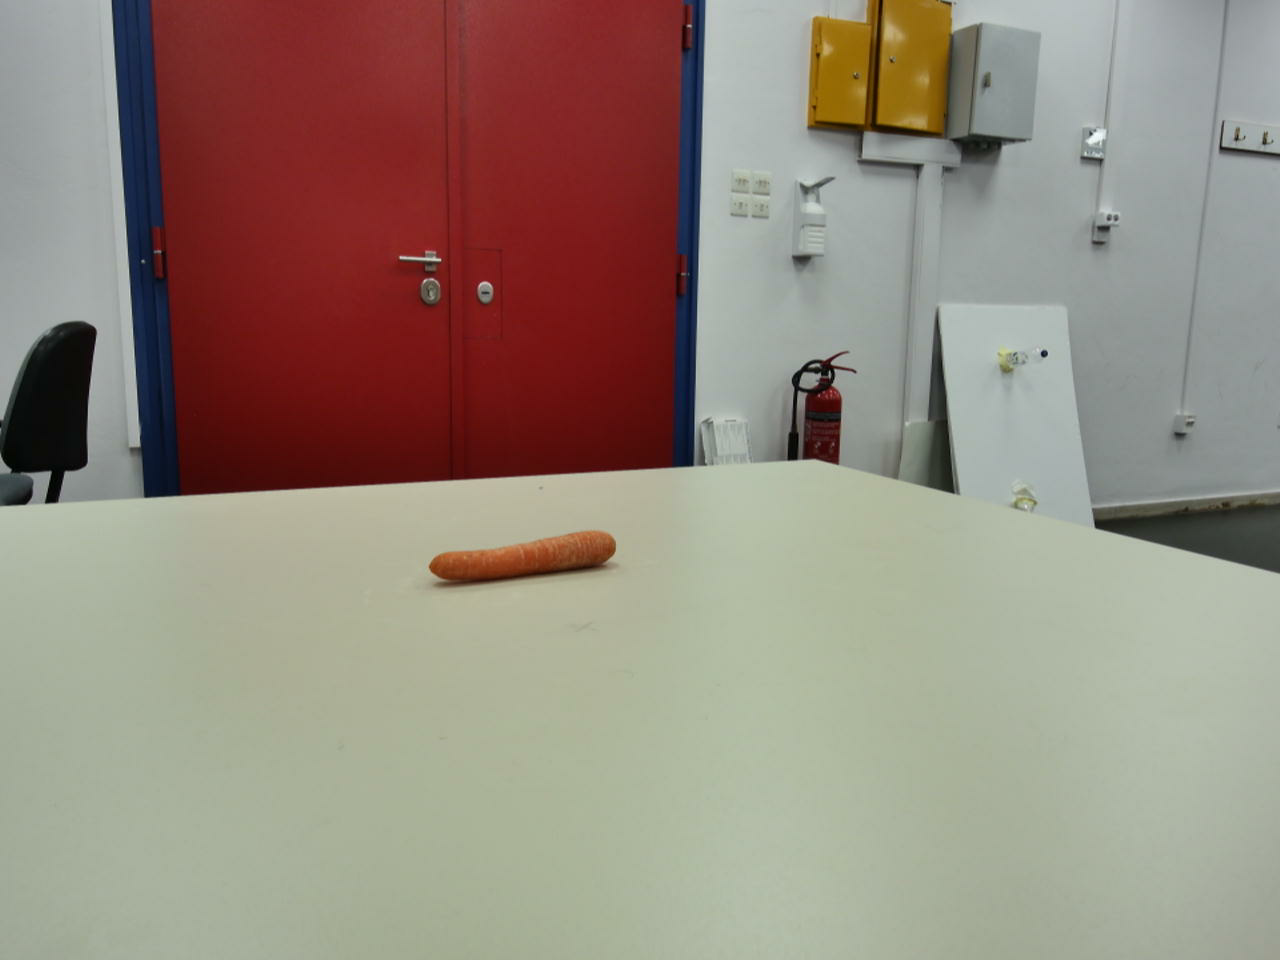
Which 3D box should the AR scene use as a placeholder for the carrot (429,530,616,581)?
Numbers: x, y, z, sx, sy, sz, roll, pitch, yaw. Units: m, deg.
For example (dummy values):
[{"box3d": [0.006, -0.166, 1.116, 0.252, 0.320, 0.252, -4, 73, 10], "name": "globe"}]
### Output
[{"box3d": [-0.070, 0.047, 0.621, 0.122, 0.023, 0.024, -4, 9, -27], "name": "carrot"}]
